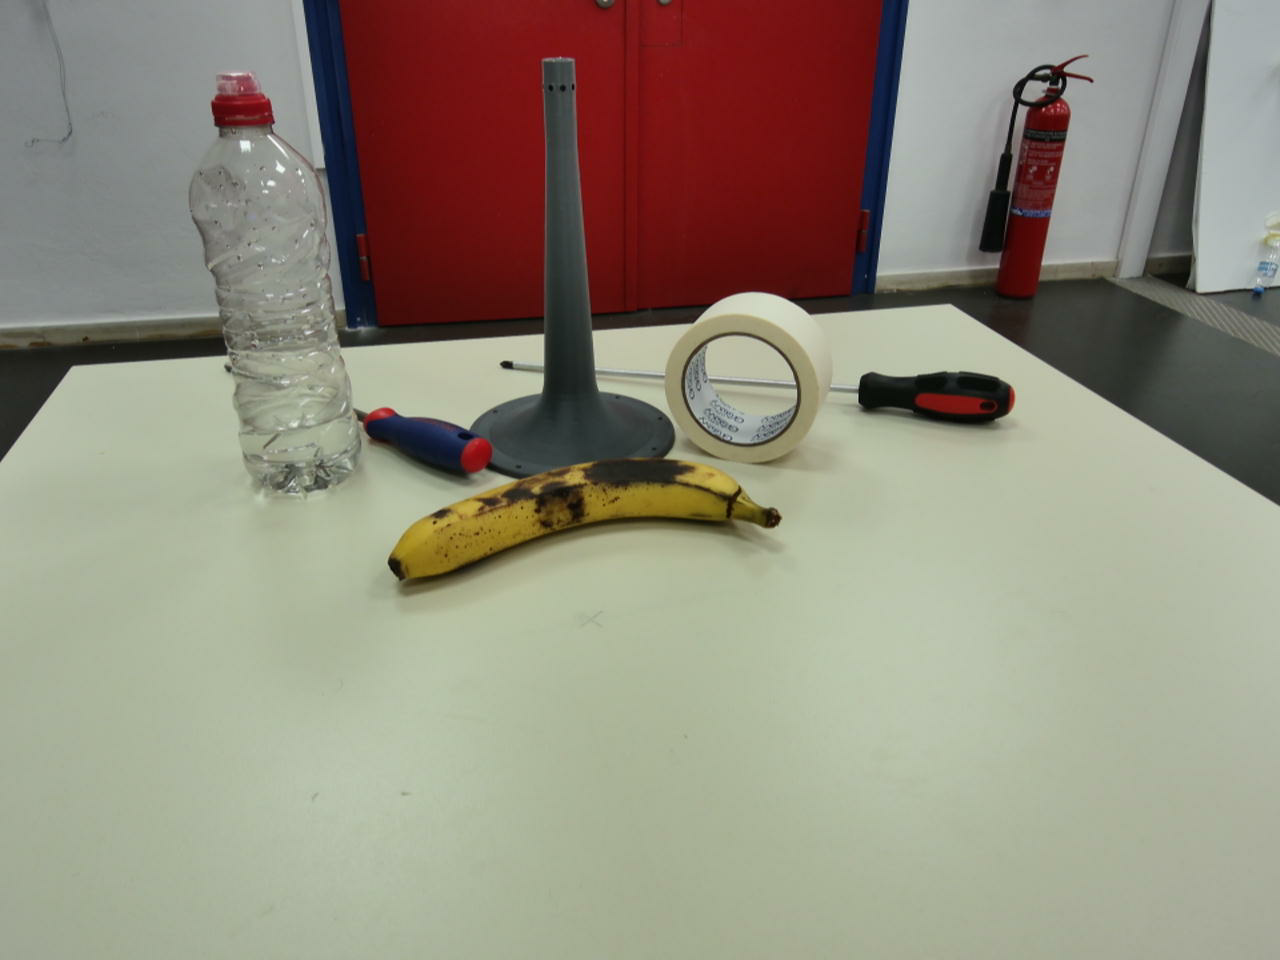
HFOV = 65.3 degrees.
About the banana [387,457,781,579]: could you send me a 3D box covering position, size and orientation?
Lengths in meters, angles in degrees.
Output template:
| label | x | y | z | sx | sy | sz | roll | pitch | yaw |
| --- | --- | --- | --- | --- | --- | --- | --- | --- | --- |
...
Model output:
| label | x | y | z | sx | sy | sz | roll | pitch | yaw |
| --- | --- | --- | --- | --- | --- | --- | --- | --- | --- |
| banana | -0.035 | 0.017 | 0.589 | 0.222 | 0.037 | 0.084 | -6 | 27 | -11 |
